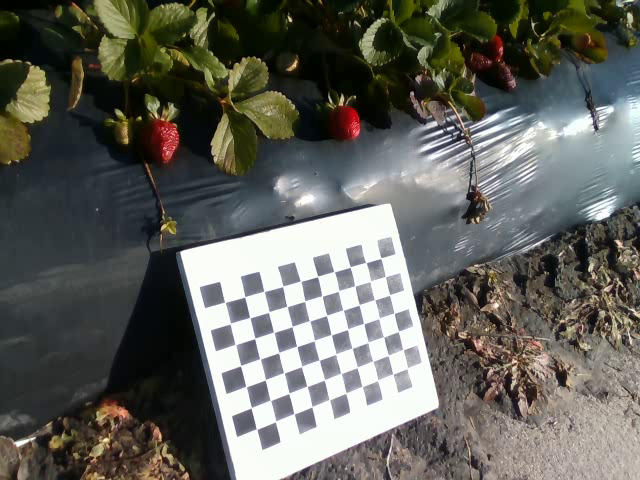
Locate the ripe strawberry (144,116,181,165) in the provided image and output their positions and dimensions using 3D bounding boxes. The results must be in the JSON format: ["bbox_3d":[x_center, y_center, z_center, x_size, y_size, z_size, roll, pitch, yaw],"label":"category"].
[{"bbox_3d":[-0.152,-0.094,0.627,0.041,0.043,0.053,-1,41,-33],"label":"ripe strawberry"}]

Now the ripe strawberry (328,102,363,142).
[{"bbox_3d":[0.028,-0.127,0.723,0.042,0.043,0.050,26,25,-28],"label":"ripe strawberry"}]
